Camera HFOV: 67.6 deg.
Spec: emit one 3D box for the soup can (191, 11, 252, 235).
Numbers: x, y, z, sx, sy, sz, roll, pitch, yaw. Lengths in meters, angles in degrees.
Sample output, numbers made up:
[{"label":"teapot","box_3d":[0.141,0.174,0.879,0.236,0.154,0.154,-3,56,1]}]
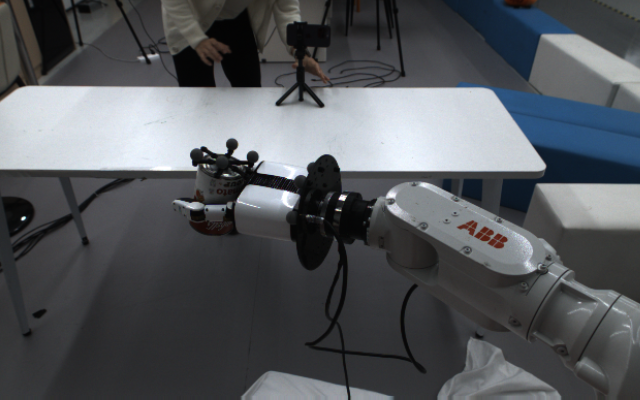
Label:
[{"label":"soup can","box_3d":[-0.149,-0.007,0.701,0.067,0.101,0.067,14,31,-8]}]
